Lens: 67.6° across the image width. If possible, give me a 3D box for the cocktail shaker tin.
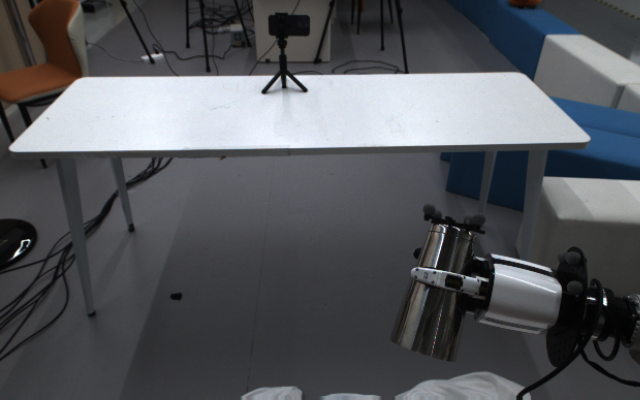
[{"bbox_3d":[0.162,0.122,0.669,0.093,0.170,0.093,17,-7,2],"label":"cocktail shaker tin"}]
